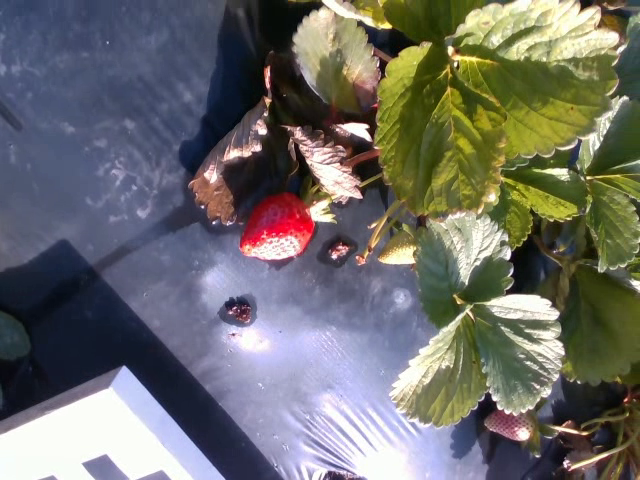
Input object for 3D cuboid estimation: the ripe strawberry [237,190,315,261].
[{"bbox_3d":[-0.029,-0.001,0.285,0.054,0.046,0.038,-27,31,-27],"label":"ripe strawberry"}]
